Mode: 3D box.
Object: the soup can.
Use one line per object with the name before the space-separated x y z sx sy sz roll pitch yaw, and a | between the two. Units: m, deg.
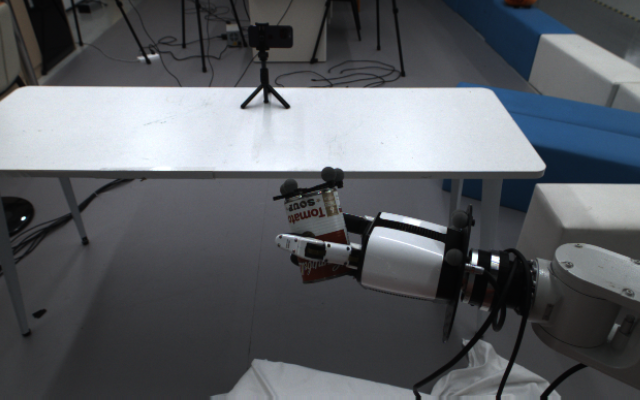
soup can | 0.001 0.042 0.583 0.067 0.101 0.067 -14 -2 -1
